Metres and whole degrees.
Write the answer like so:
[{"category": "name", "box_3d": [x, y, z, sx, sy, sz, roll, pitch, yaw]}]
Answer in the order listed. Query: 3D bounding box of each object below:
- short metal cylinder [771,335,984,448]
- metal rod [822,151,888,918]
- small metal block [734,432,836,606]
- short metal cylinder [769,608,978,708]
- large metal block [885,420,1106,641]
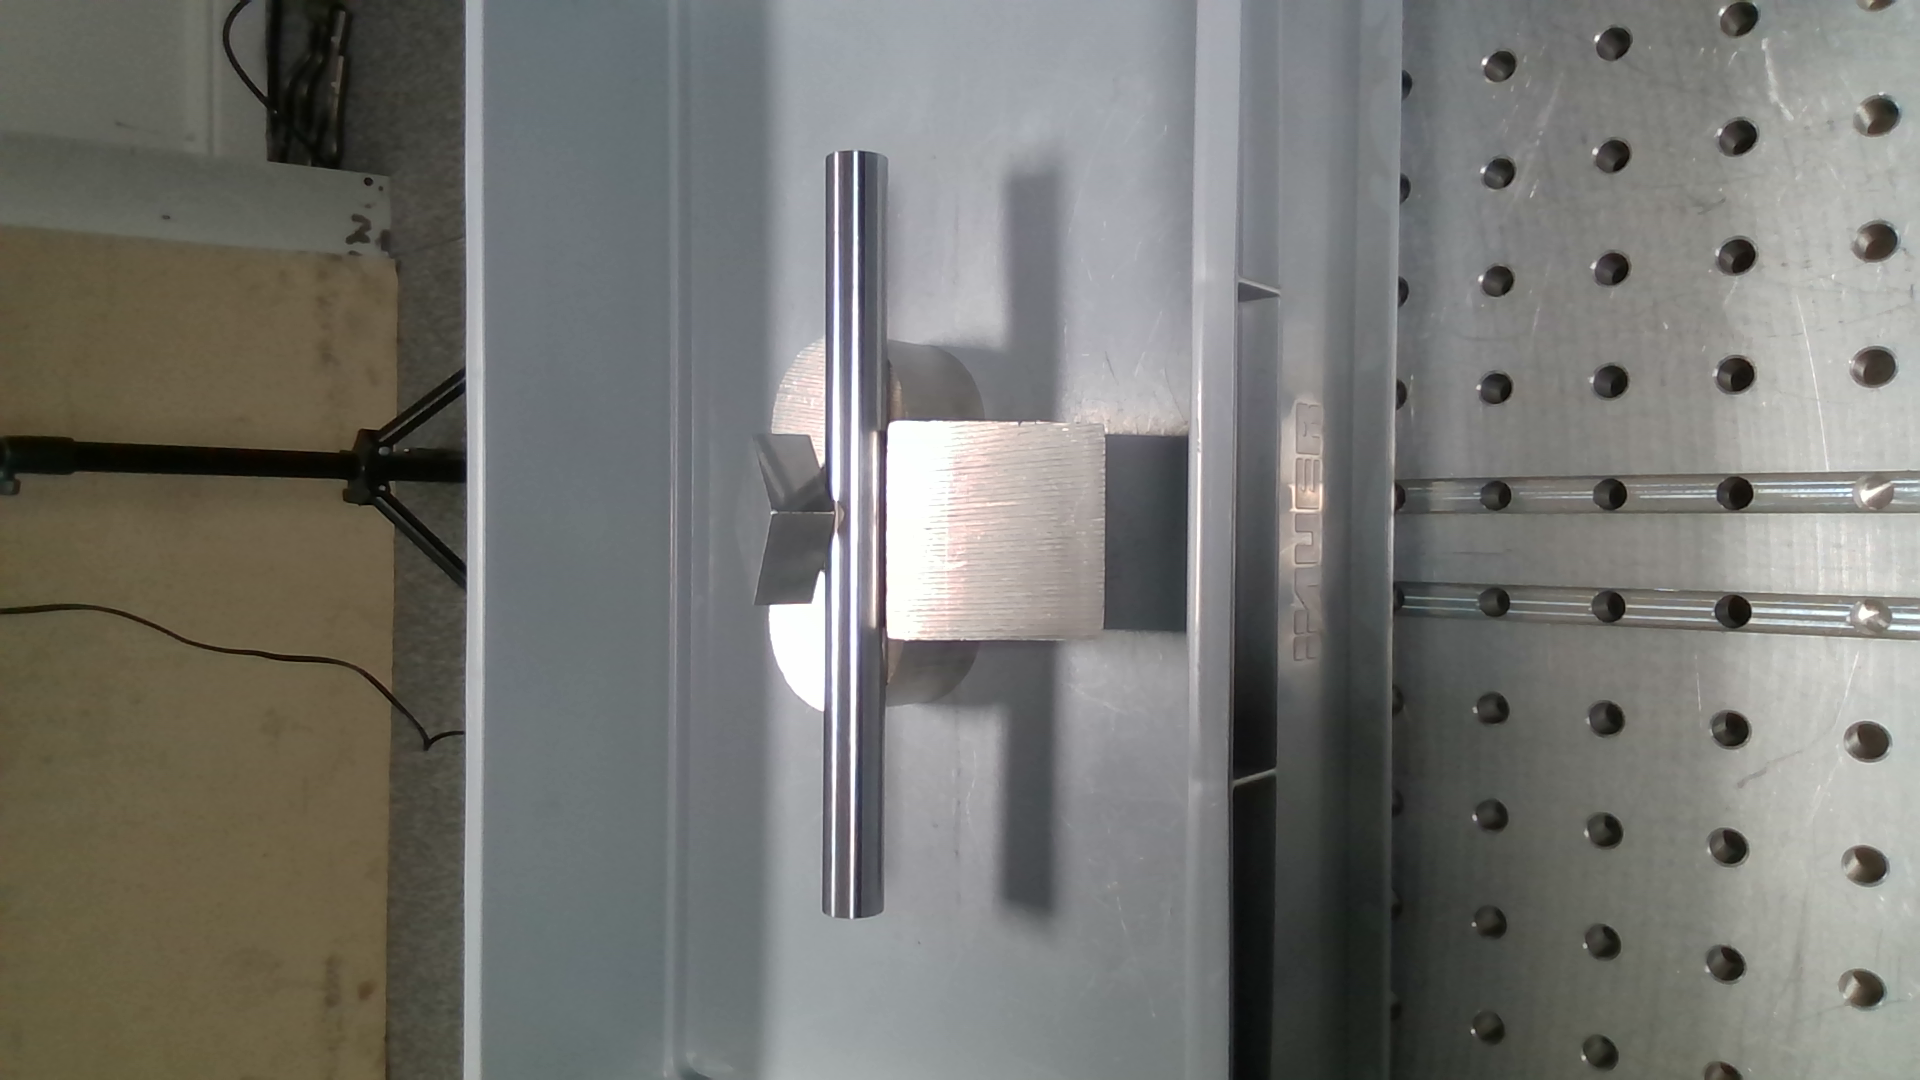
[{"category": "short metal cylinder", "box_3d": [-0.036, -0.047, 0.595, 0.080, 0.050, 0.080, 0, 91, 40]}, {"category": "metal rod", "box_3d": [-0.042, -0.002, 0.551, 0.025, 0.025, 0.300, 1, 91, 40]}, {"category": "small metal block", "box_3d": [-0.073, -0.009, 0.563, 0.050, 0.025, 0.050, -112, 30, -44]}, {"category": "short metal cylinder", "box_3d": [-0.037, 0.033, 0.596, 0.080, 0.050, 0.080, 0, 91, 40]}, {"category": "large metal block", "box_3d": [0.012, -0.004, 0.527, 0.080, 0.050, 0.080, 1, 91, -3]}]
